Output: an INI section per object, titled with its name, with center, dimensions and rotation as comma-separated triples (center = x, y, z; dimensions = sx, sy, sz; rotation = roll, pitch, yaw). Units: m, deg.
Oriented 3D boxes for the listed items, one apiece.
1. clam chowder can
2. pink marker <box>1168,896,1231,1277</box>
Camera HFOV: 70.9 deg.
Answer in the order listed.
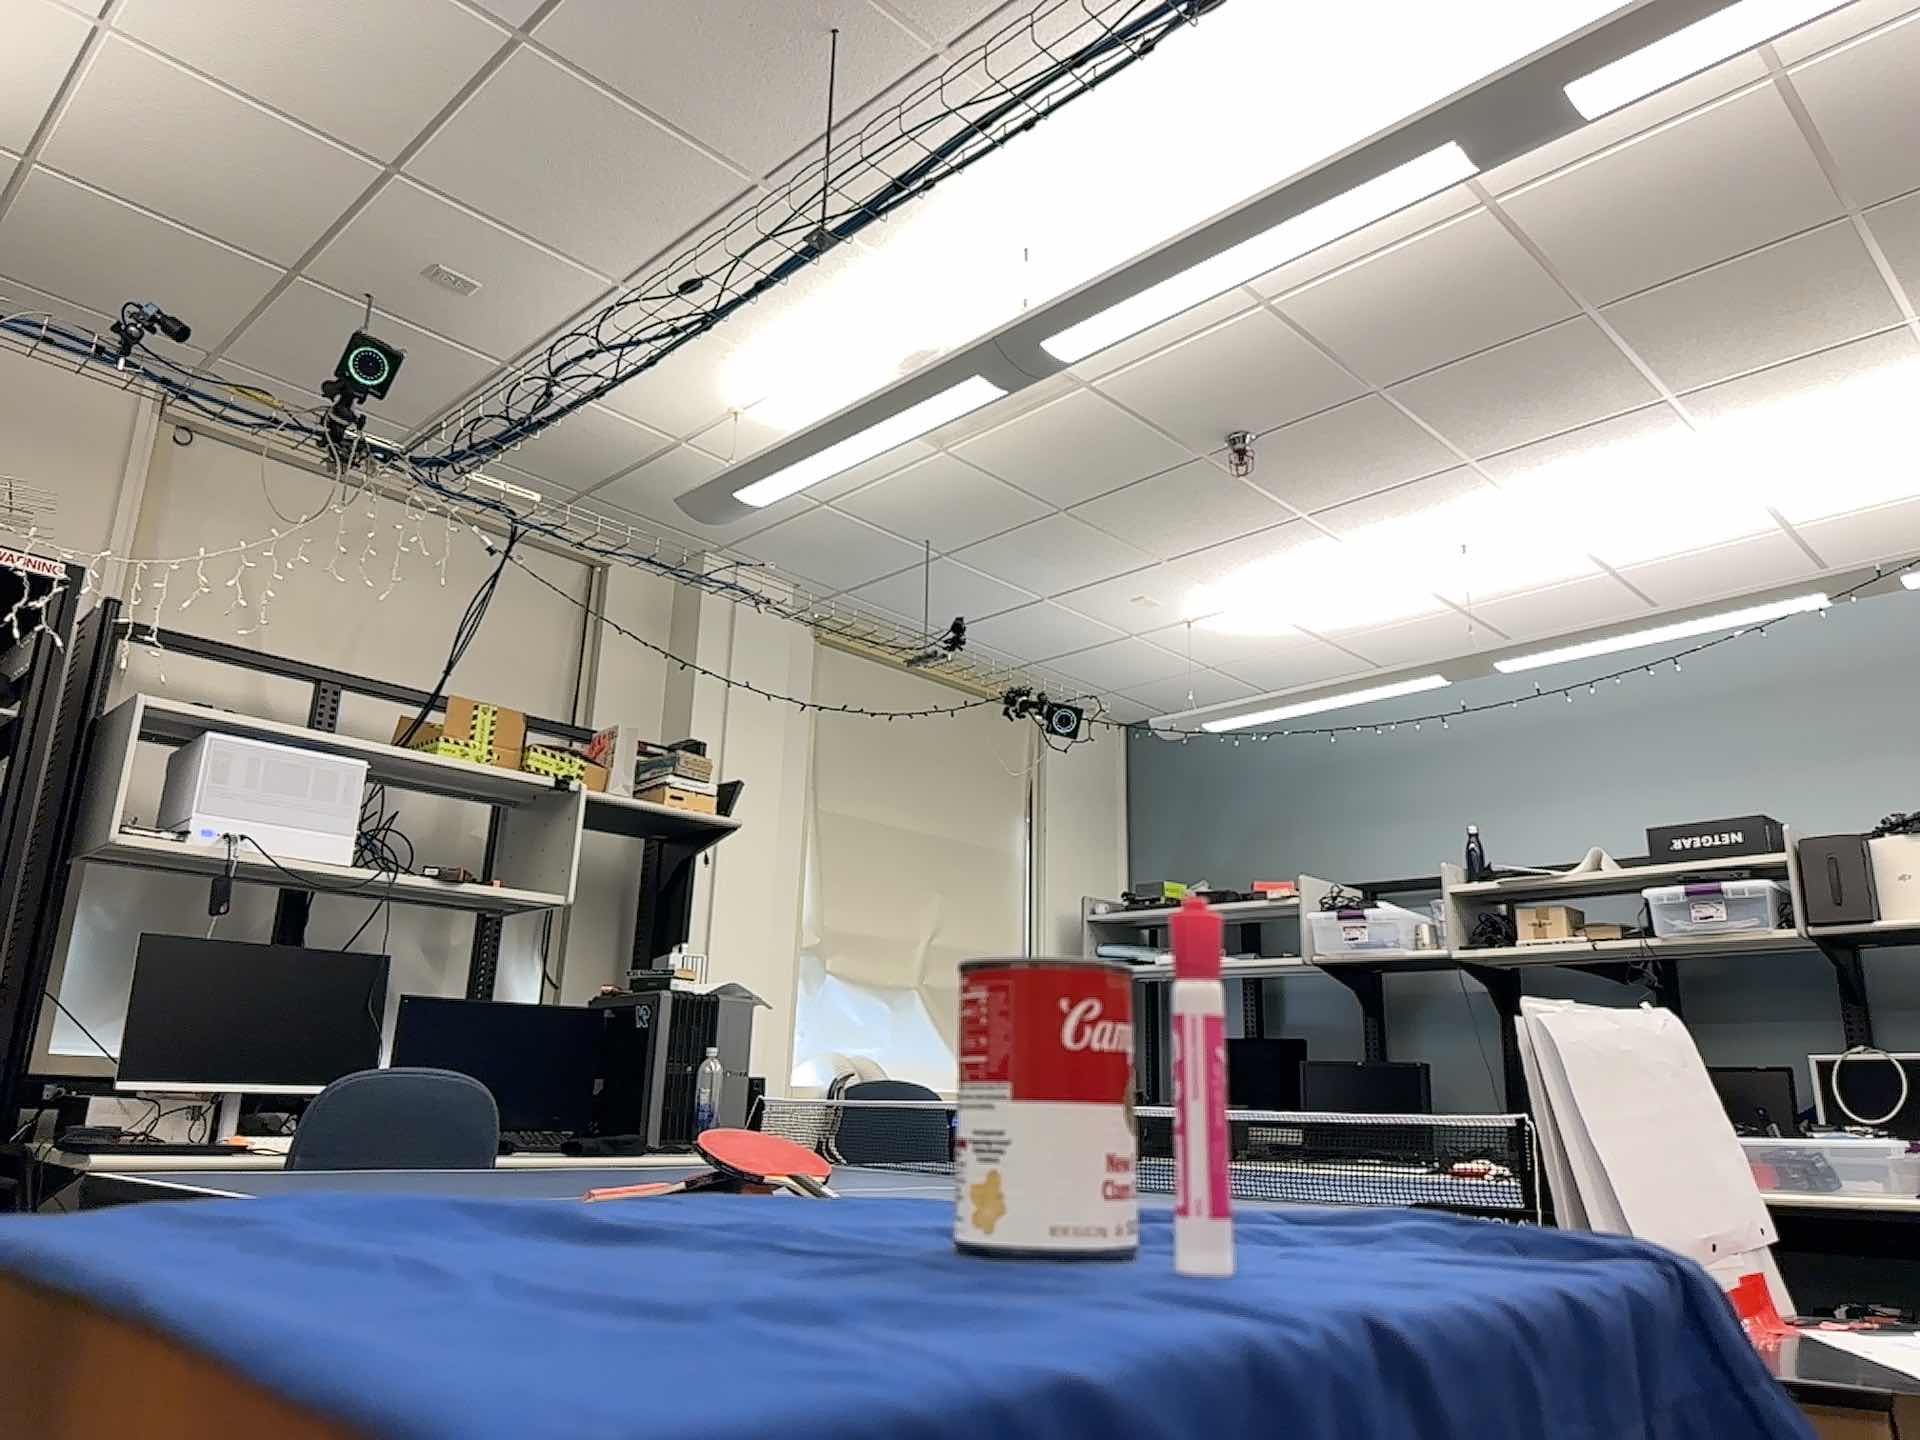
[clam chowder can]
center = 0.031, 0.140, 0.496
dimensions = 0.068, 0.102, 0.068
rotation = 2, -13, 0
[pink marker]
center = 0.079, 0.119, 0.448
dimensions = 0.020, 0.121, 0.020
rotation = 2, -14, 0
